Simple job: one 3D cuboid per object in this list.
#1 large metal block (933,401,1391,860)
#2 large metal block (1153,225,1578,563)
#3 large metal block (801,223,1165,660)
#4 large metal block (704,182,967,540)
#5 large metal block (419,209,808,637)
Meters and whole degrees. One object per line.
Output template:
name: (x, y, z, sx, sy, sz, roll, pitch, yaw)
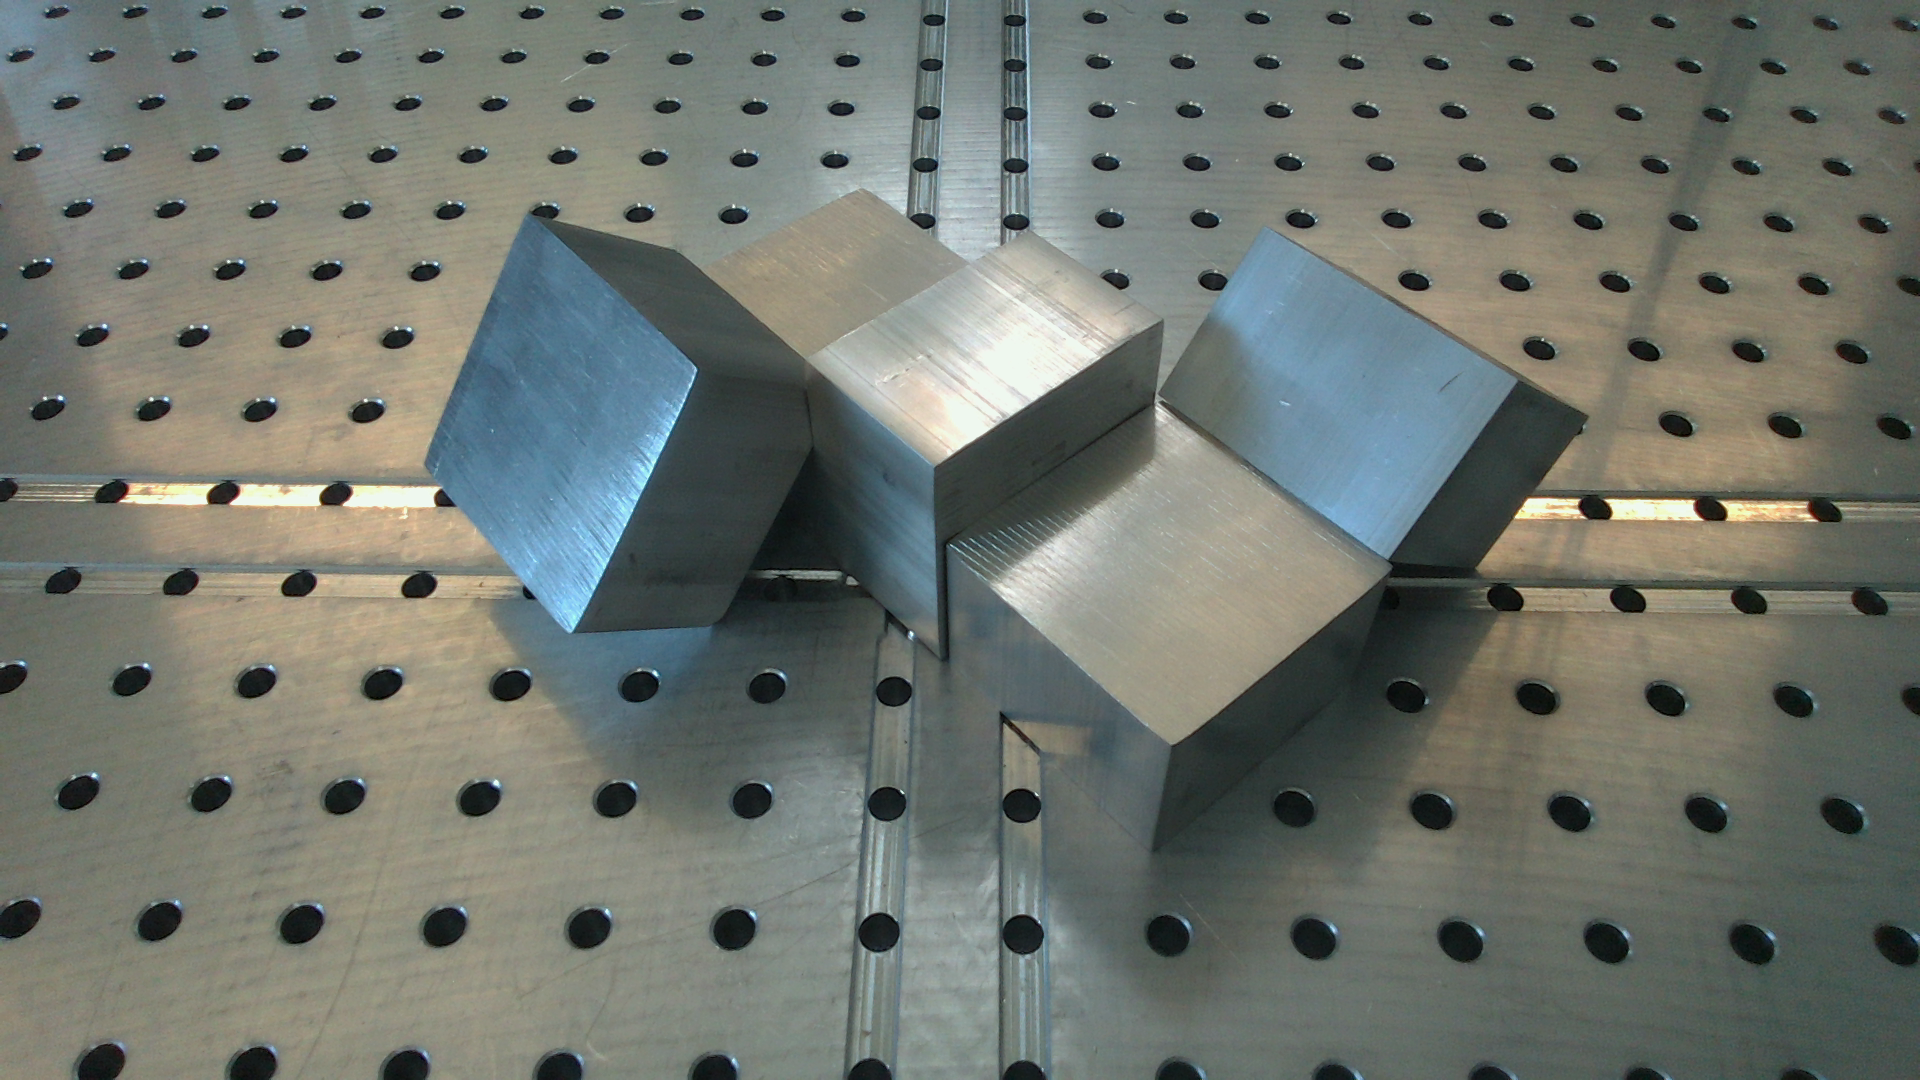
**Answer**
large metal block: (0.050, 0.021, 0.360, 0.080, 0.050, 0.080, -33, 56, -25)
large metal block: (0.114, -0.038, 0.383, 0.080, 0.050, 0.080, 42, 21, 29)
large metal block: (0.006, -0.027, 0.381, 0.080, 0.080, 0.050, -35, 59, -26)
large metal block: (-0.036, -0.055, 0.424, 0.080, 0.050, 0.080, -35, 59, -24)
large metal block: (-0.093, -0.031, 0.375, 0.080, 0.080, 0.050, 41, 22, 29)
